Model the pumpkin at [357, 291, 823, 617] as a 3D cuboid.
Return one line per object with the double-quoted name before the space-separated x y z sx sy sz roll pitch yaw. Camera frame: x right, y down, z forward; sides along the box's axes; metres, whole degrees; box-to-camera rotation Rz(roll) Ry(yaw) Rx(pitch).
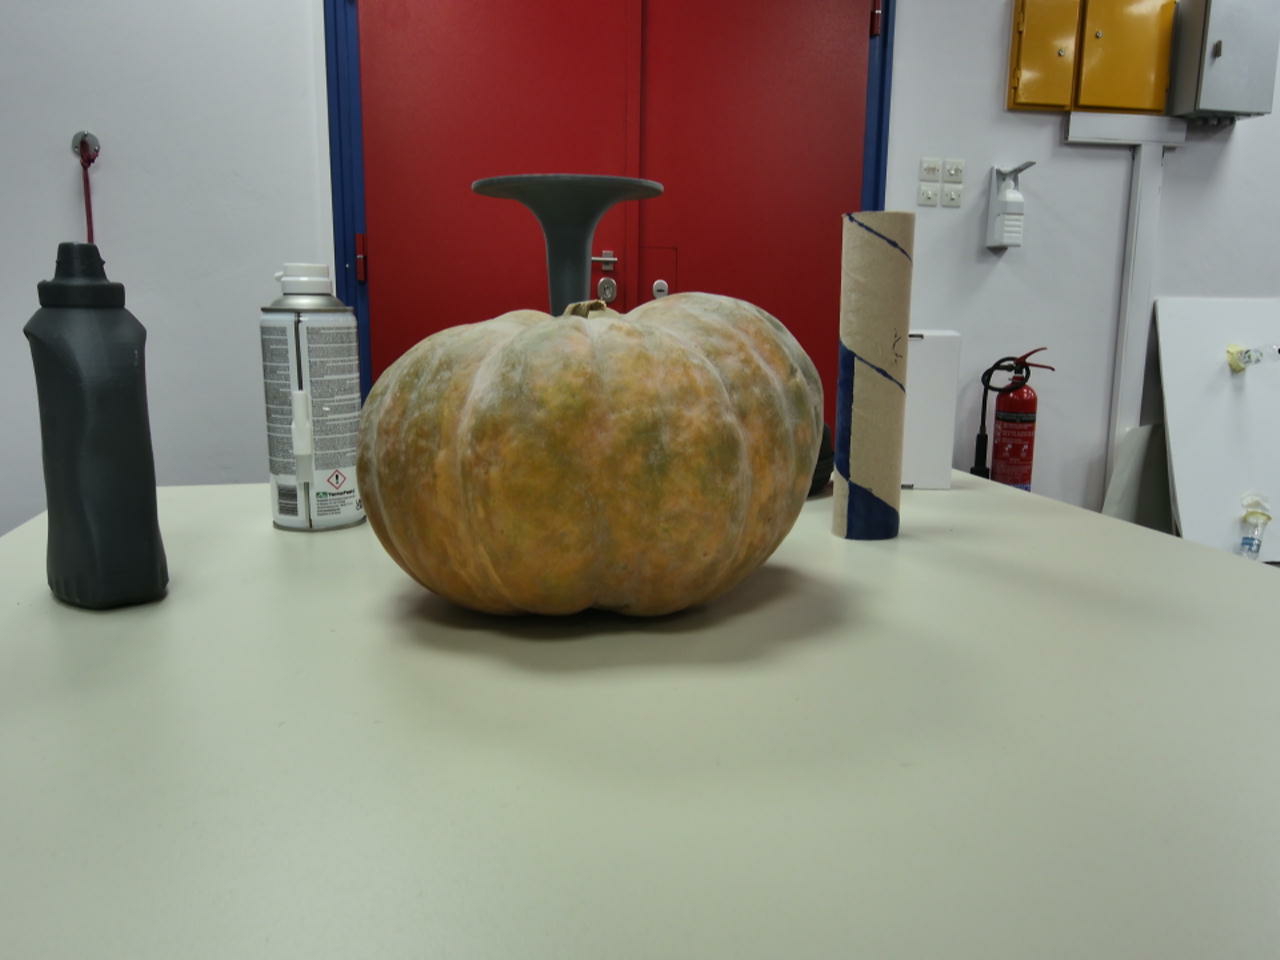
"pumpkin" -0.030 -0.018 0.548 0.252 0.168 0.252 0 8 0
